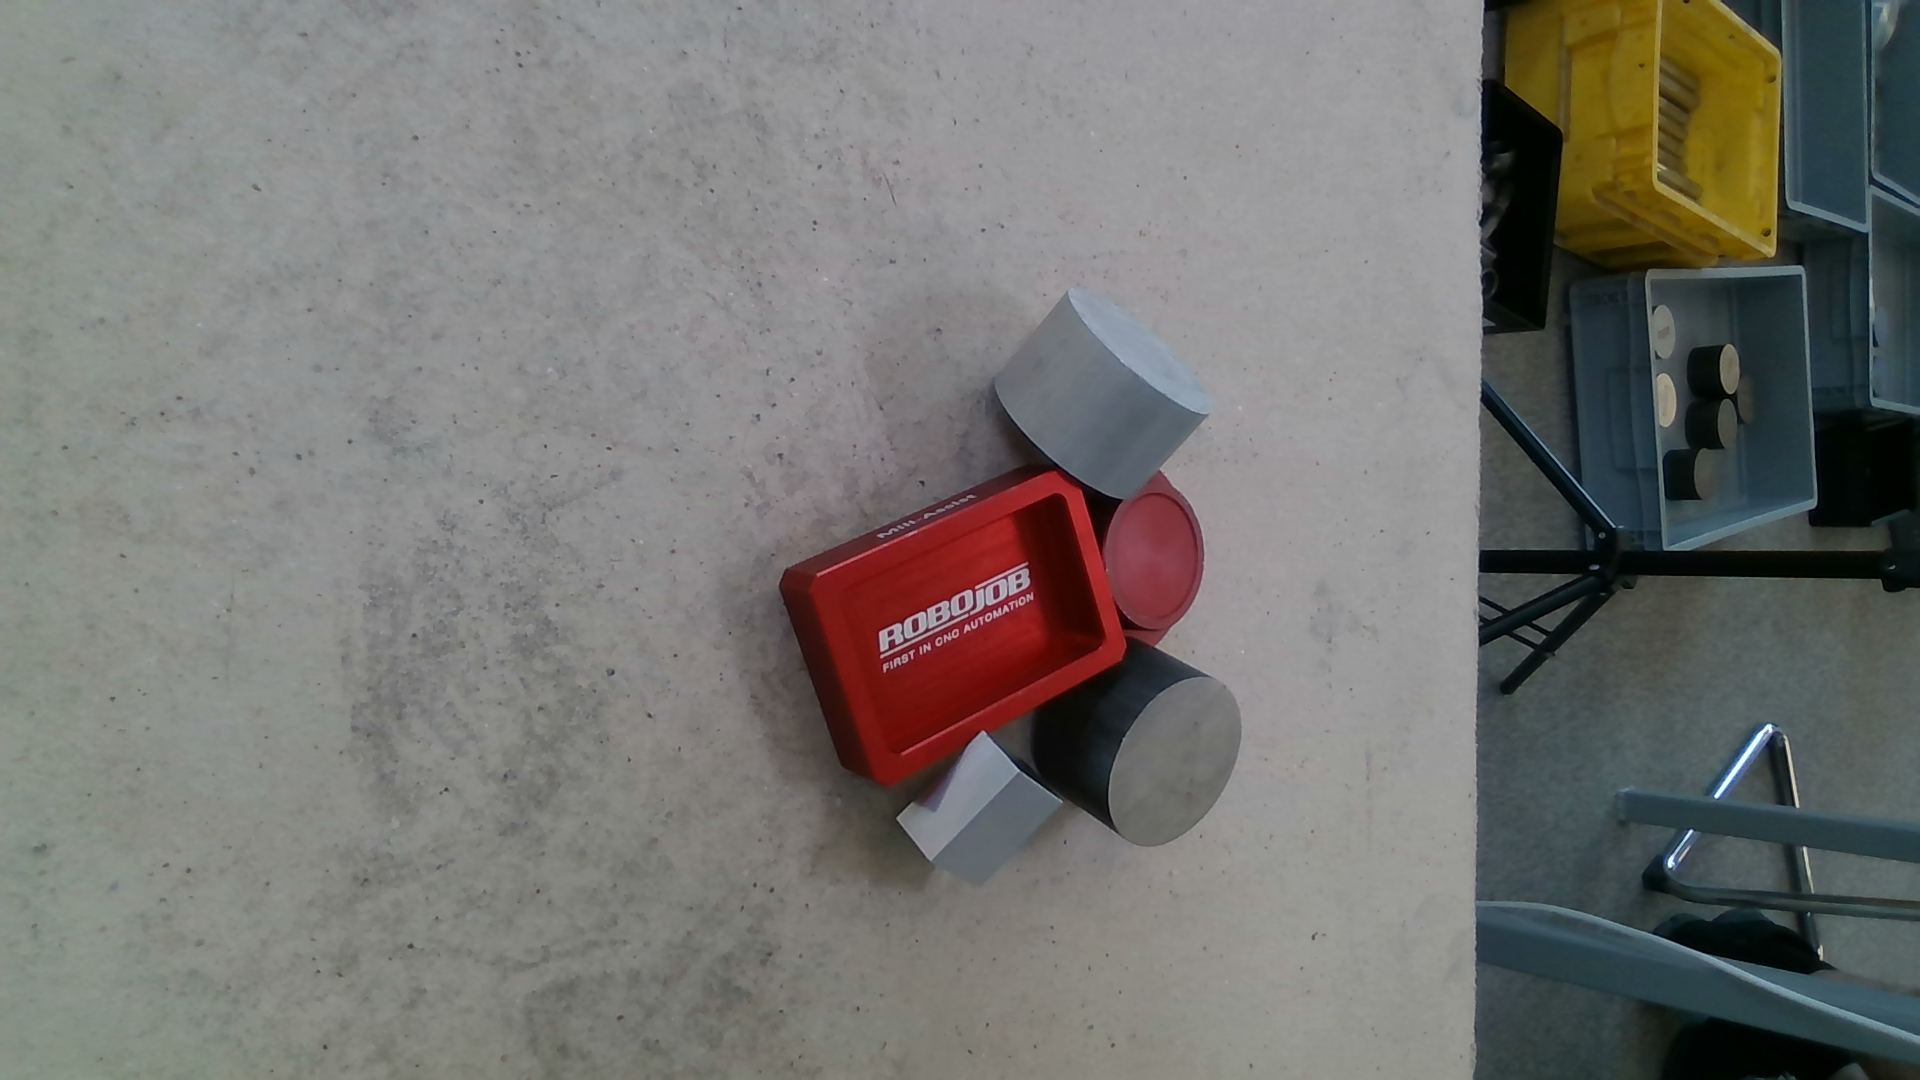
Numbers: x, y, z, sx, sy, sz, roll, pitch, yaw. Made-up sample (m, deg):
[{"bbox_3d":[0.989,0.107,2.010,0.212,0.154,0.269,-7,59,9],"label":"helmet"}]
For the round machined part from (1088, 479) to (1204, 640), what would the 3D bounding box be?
[{"bbox_3d":[0.075,0.006,0.637,0.098,0.042,0.098,0,90,-40],"label":"round machined part"}]

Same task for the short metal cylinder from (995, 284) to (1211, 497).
[{"bbox_3d":[0.062,-0.064,0.592,0.080,0.080,0.050,21,120,-38],"label":"short metal cylinder"}]

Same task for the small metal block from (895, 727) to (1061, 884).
[{"bbox_3d":[0.009,0.111,0.568,0.050,0.025,0.050,-45,146,-1],"label":"small metal block"}]

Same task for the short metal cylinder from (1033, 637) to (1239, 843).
[{"bbox_3d":[0.080,0.089,0.621,0.080,0.050,0.080,-16,117,-33],"label":"short metal cylinder"}]

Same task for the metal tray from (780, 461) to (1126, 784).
[{"bbox_3d":[0.000,0.031,0.566,0.130,0.030,0.090,-25,106,-28],"label":"metal tray"}]
